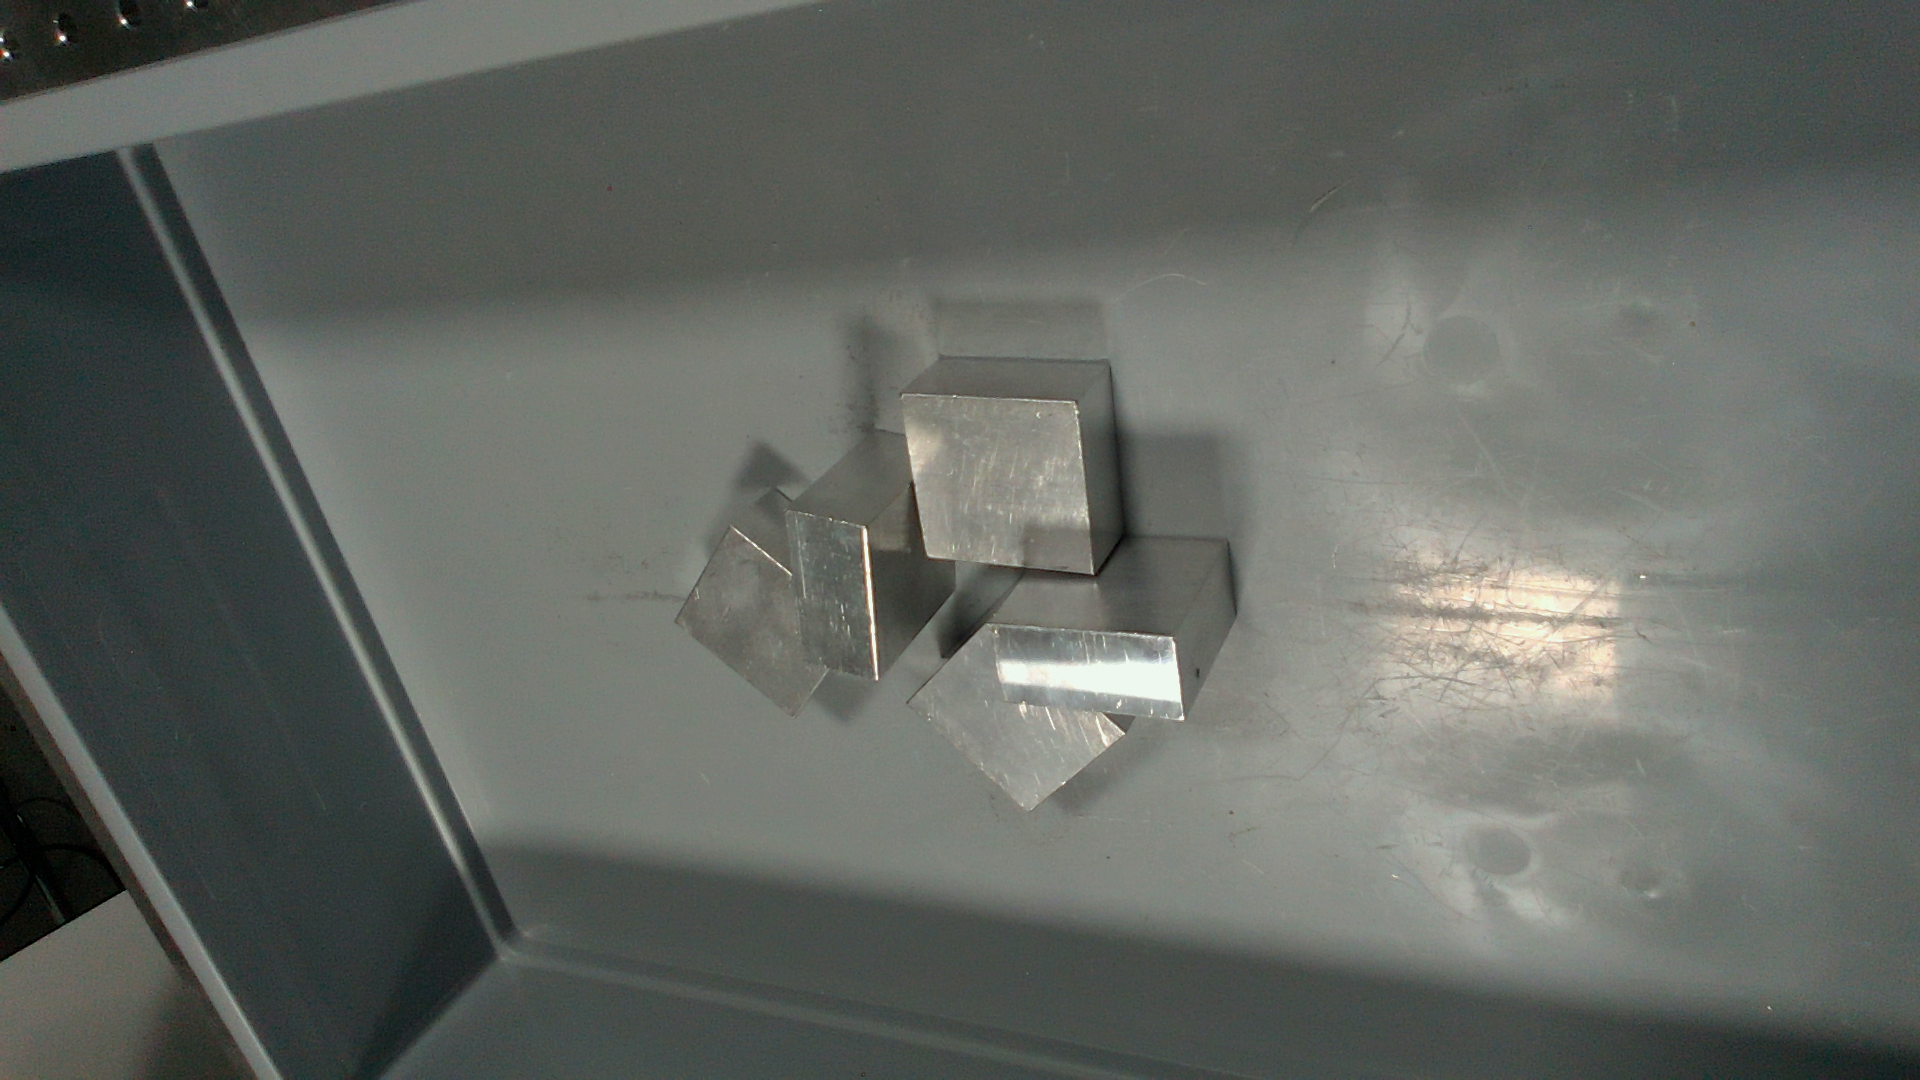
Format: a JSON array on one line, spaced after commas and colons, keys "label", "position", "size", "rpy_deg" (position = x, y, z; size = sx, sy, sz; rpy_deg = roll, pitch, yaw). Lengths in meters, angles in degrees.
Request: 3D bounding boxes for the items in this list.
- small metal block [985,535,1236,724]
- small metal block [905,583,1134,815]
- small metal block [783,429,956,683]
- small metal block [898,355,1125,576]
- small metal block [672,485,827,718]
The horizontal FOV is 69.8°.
[{"label": "small metal block", "position": [0.041, 0.022, 0.366], "size": [0.050, 0.050, 0.025], "rpy_deg": [3, 120, 27]}, {"label": "small metal block", "position": [0.020, 0.046, 0.408], "size": [0.050, 0.025, 0.050], "rpy_deg": [42, 129, -1]}, {"label": "small metal block", "position": [-0.024, 0.004, 0.390], "size": [0.025, 0.050, 0.050], "rpy_deg": [12, 124, 22]}, {"label": "small metal block", "position": [0.015, -0.021, 0.370], "size": [0.050, 0.025, 0.050], "rpy_deg": [6, 121, 25]}, {"label": "small metal block", "position": [-0.056, 0.020, 0.433], "size": [0.050, 0.025, 0.050], "rpy_deg": [38, 129, 2]}]
